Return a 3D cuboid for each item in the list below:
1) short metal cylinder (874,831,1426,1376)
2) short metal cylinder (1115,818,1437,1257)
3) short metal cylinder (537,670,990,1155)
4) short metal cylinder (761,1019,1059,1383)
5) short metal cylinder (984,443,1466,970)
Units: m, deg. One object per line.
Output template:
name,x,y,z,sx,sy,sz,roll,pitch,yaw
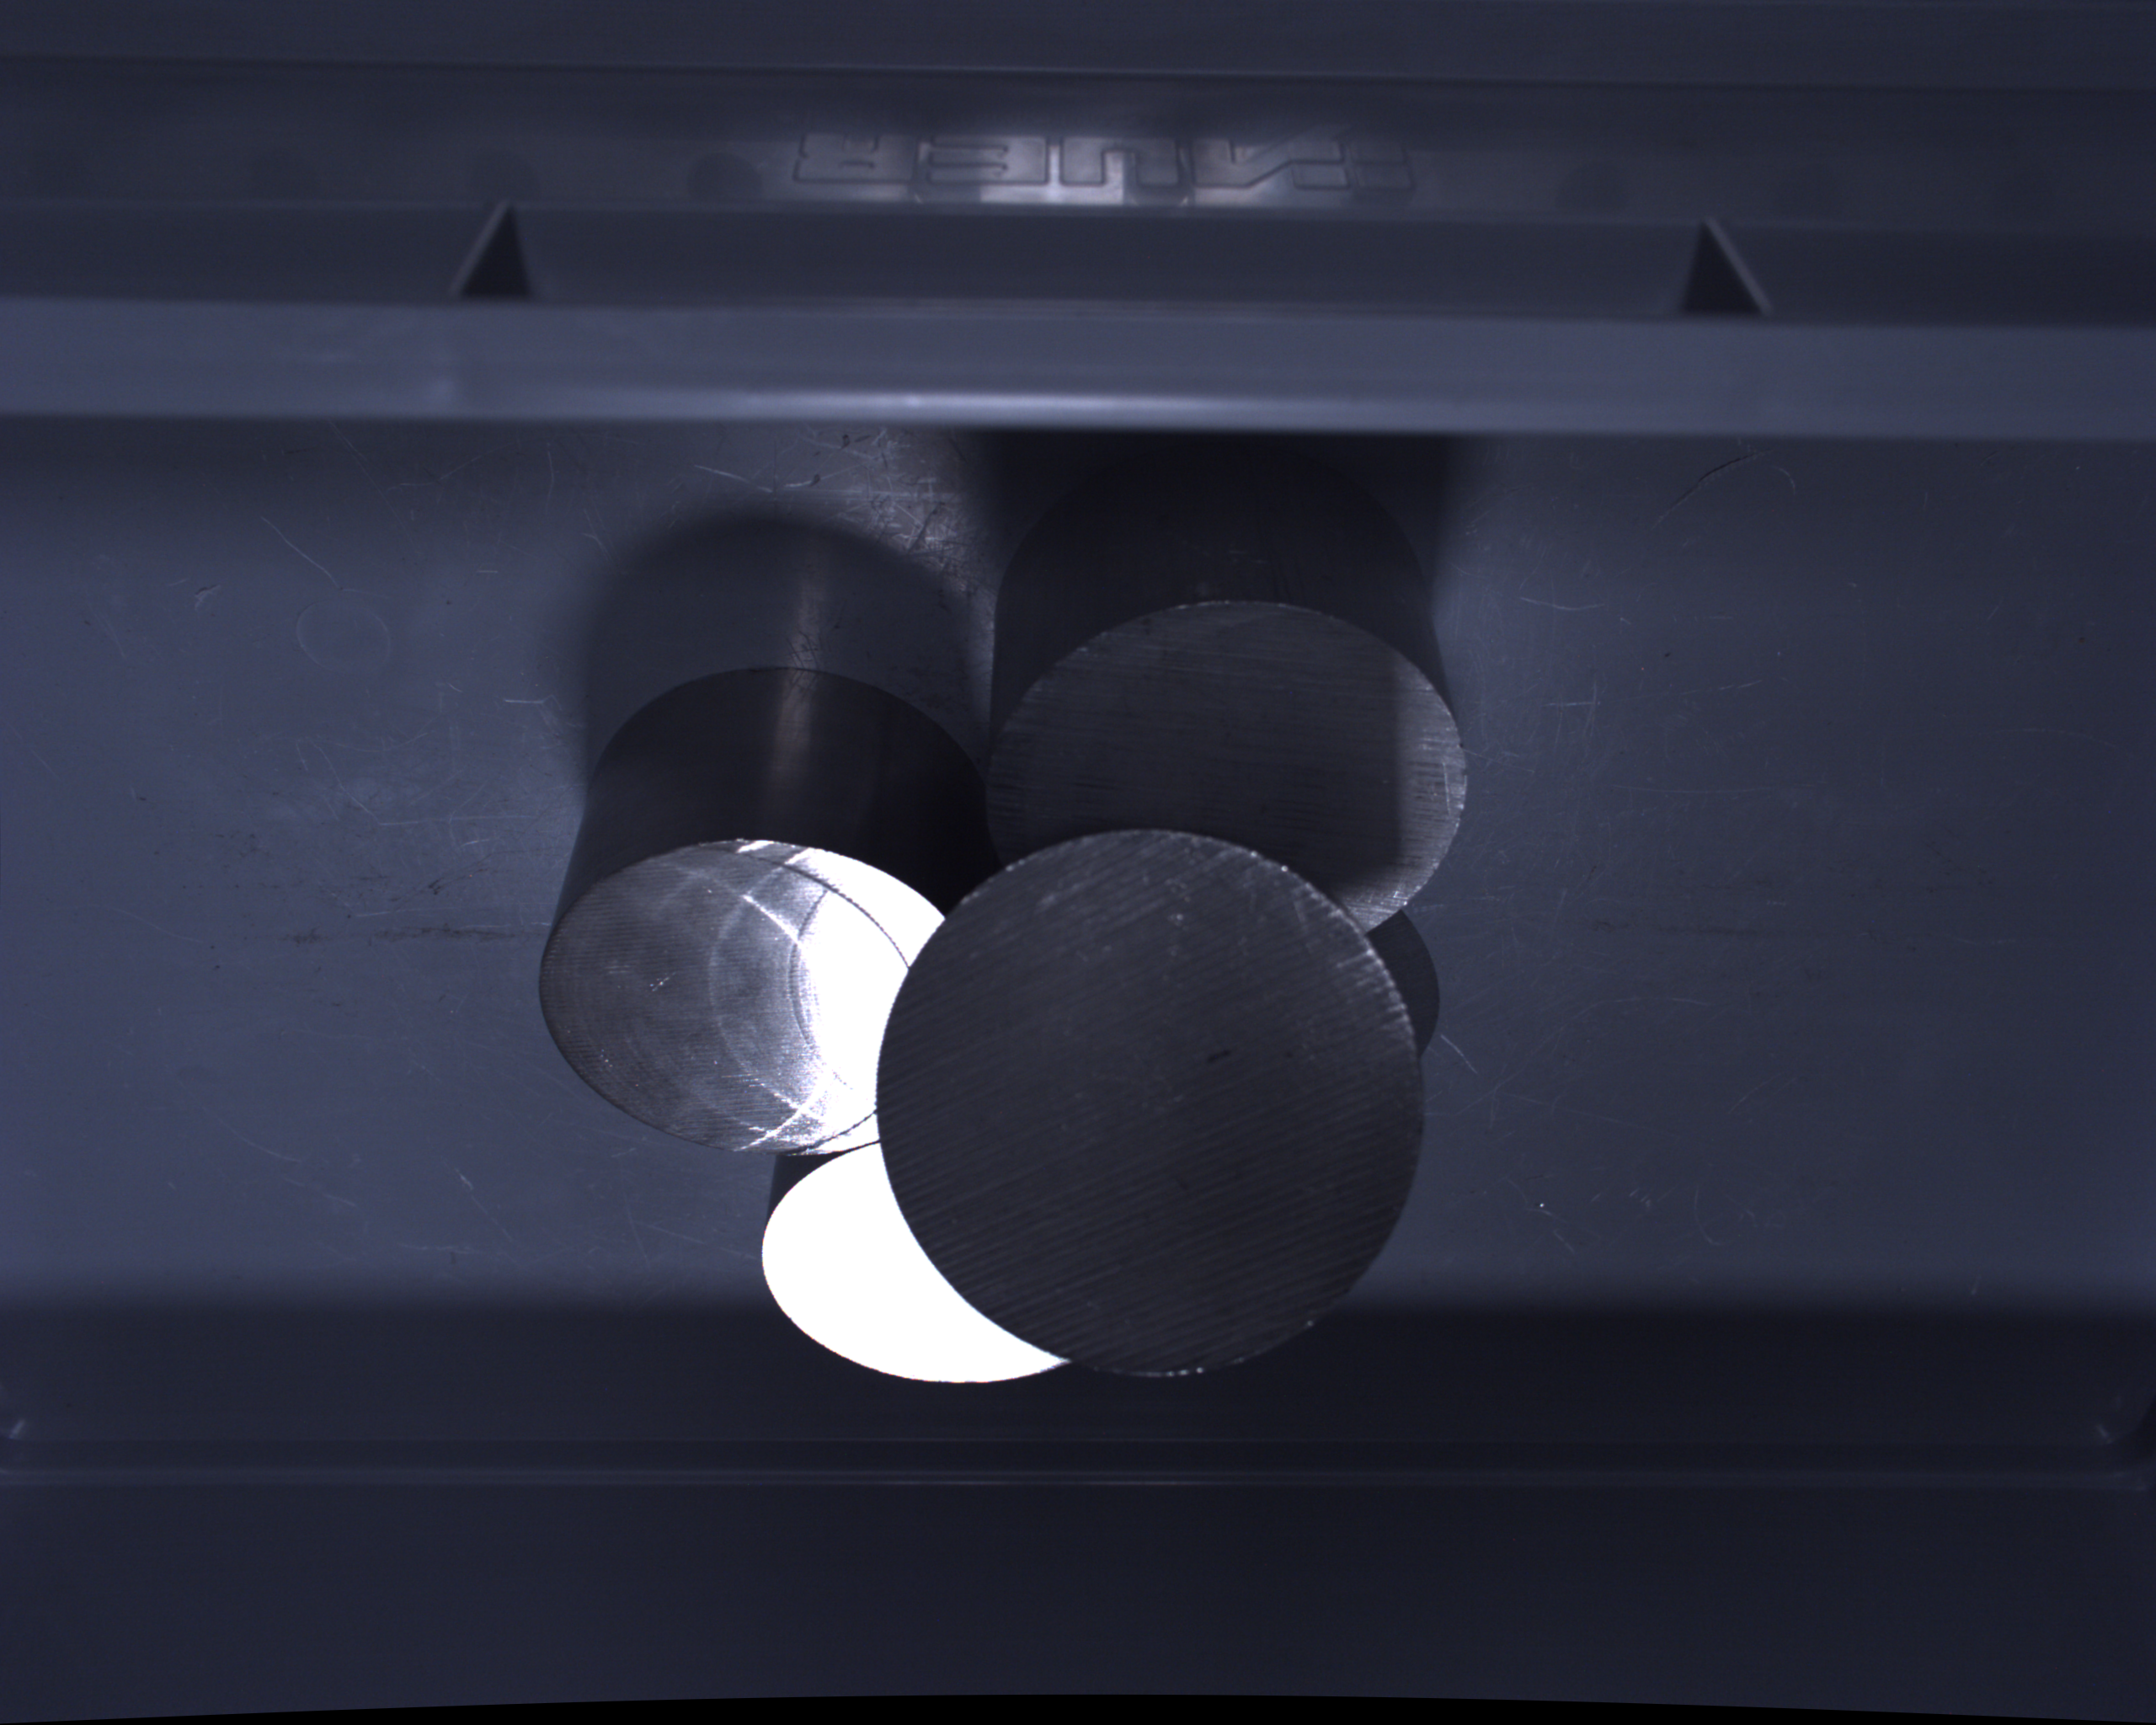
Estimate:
short metal cylinder,0.013,0.035,0.328,0.080,0.050,0.079,0,90,6
short metal cylinder,0.022,0.033,0.400,0.081,0.080,0.050,10,129,-9
short metal cylinder,-0.057,0.010,0.398,0.081,0.050,0.079,0,130,0
short metal cylinder,-0.025,0.067,0.446,0.081,0.050,0.079,0,130,0
short metal cylinder,0.024,-0.026,0.368,0.081,0.050,0.079,0,130,0
